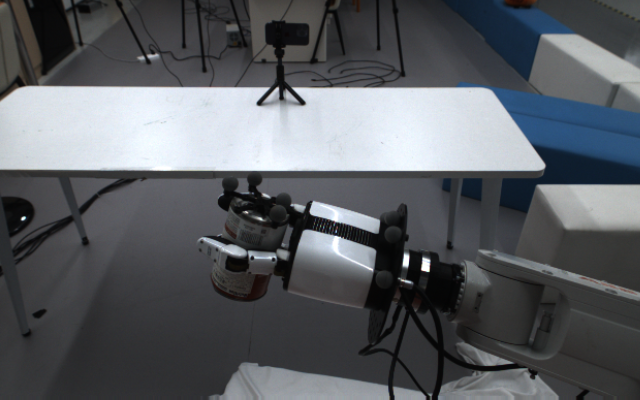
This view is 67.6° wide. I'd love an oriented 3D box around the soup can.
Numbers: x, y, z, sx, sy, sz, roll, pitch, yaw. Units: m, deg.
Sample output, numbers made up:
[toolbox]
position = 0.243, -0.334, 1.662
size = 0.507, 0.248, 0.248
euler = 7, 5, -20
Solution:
[soup can]
position = -0.077, 0.054, 0.542
size = 0.067, 0.101, 0.067
euler = 17, 21, -7
